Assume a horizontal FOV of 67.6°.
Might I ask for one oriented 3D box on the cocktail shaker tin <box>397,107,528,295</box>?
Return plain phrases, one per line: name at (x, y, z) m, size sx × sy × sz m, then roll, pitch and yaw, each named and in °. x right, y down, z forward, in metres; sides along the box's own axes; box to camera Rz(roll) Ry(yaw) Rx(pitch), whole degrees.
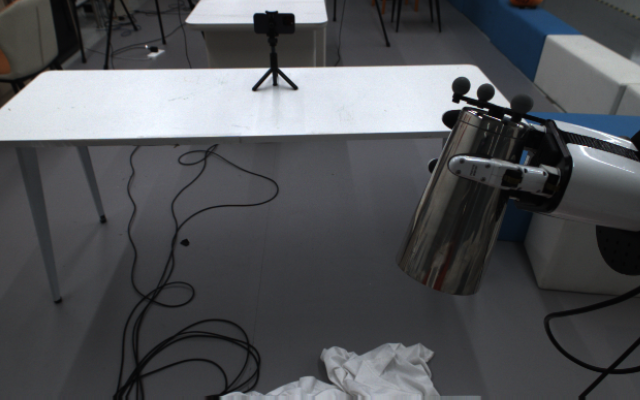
cocktail shaker tin at (0.149, -0.004, 0.492) m, size 0.093 × 0.170 × 0.093 m, roll 14°, pitch 18°, yaw -5°
